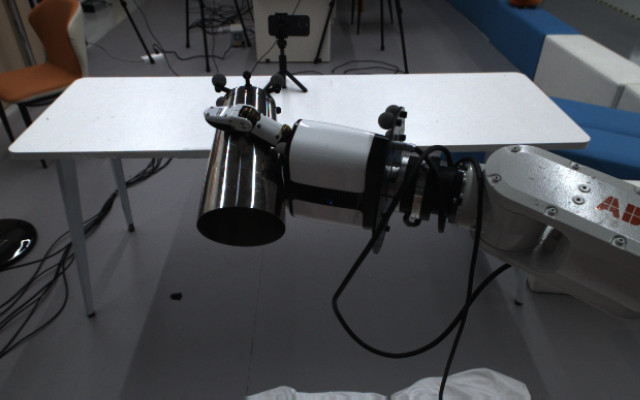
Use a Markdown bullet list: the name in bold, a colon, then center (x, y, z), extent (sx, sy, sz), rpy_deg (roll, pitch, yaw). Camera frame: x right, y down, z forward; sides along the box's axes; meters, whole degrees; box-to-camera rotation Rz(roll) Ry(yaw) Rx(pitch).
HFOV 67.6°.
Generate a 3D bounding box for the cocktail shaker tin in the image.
- **cocktail shaker tin**: center (-0.084, -0.043, 0.543), extent (0.093, 0.093, 0.170), rpy_deg (0, 59, -3)
